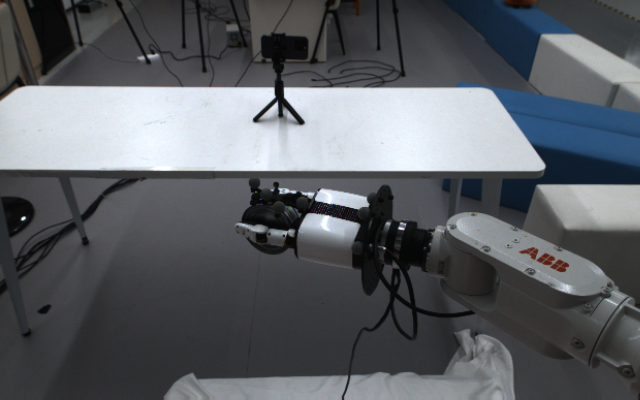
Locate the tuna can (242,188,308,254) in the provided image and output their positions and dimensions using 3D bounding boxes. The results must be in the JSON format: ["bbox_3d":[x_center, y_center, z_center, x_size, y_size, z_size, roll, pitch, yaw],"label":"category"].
[{"bbox_3d":[-0.071,0.037,0.733,0.085,0.085,0.034,16,29,19],"label":"tuna can"}]
